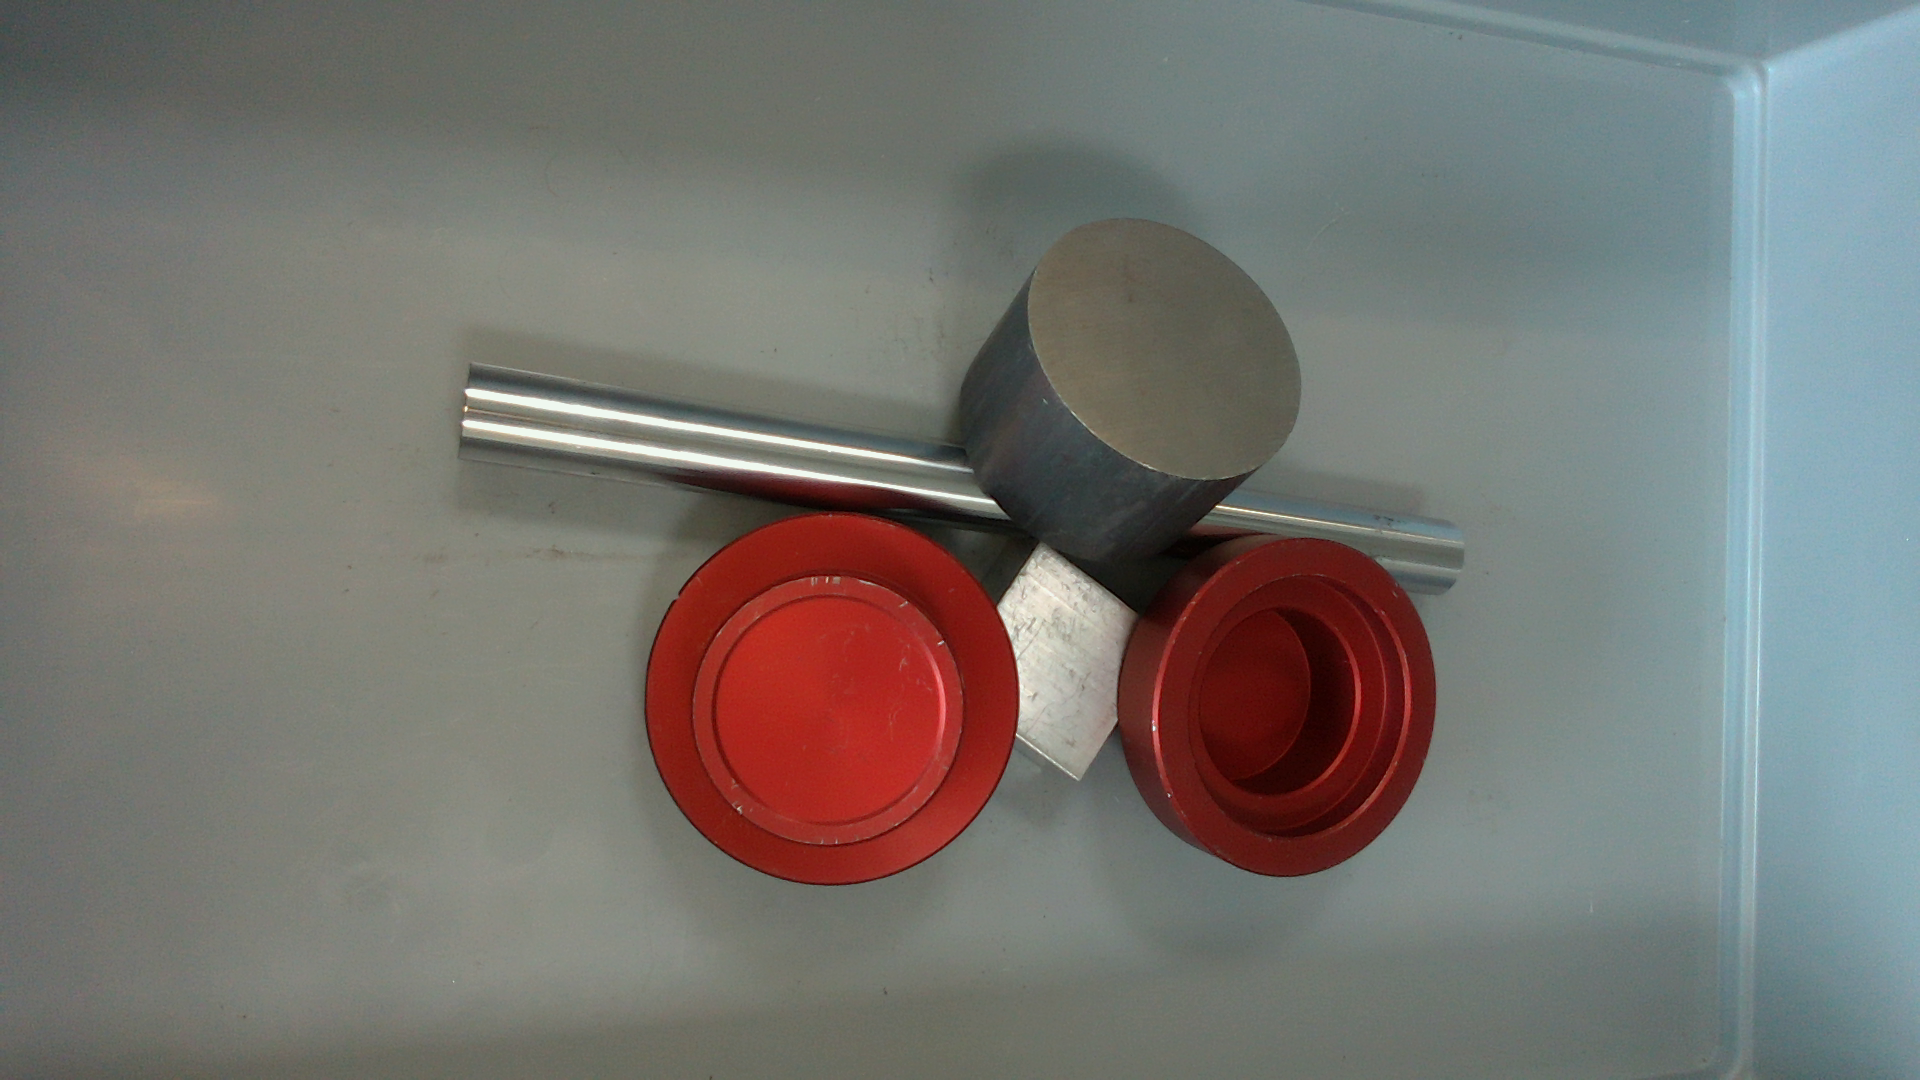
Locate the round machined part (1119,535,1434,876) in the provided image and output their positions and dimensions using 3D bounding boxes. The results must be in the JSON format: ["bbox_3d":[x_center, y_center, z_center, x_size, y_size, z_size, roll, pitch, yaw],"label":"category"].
[{"bbox_3d":[0.090,0.047,0.414,0.098,0.042,0.098,-1,93,-23],"label":"round machined part"}]

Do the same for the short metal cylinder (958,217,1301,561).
[{"bbox_3d":[0.046,-0.041,0.380,0.080,0.050,0.080,10,61,-19],"label":"short metal cylinder"}]

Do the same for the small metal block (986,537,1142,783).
[{"bbox_3d":[0.025,0.034,0.401,0.050,0.025,0.050,38,78,-16],"label":"small metal block"}]

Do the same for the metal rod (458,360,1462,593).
[{"bbox_3d":[0.015,-0.014,0.398,0.301,0.025,0.025,8,88,-20],"label":"metal rod"}]

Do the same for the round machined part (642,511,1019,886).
[{"bbox_3d":[-0.033,0.041,0.357,0.098,0.042,0.098,0,91,-2],"label":"round machined part"}]
